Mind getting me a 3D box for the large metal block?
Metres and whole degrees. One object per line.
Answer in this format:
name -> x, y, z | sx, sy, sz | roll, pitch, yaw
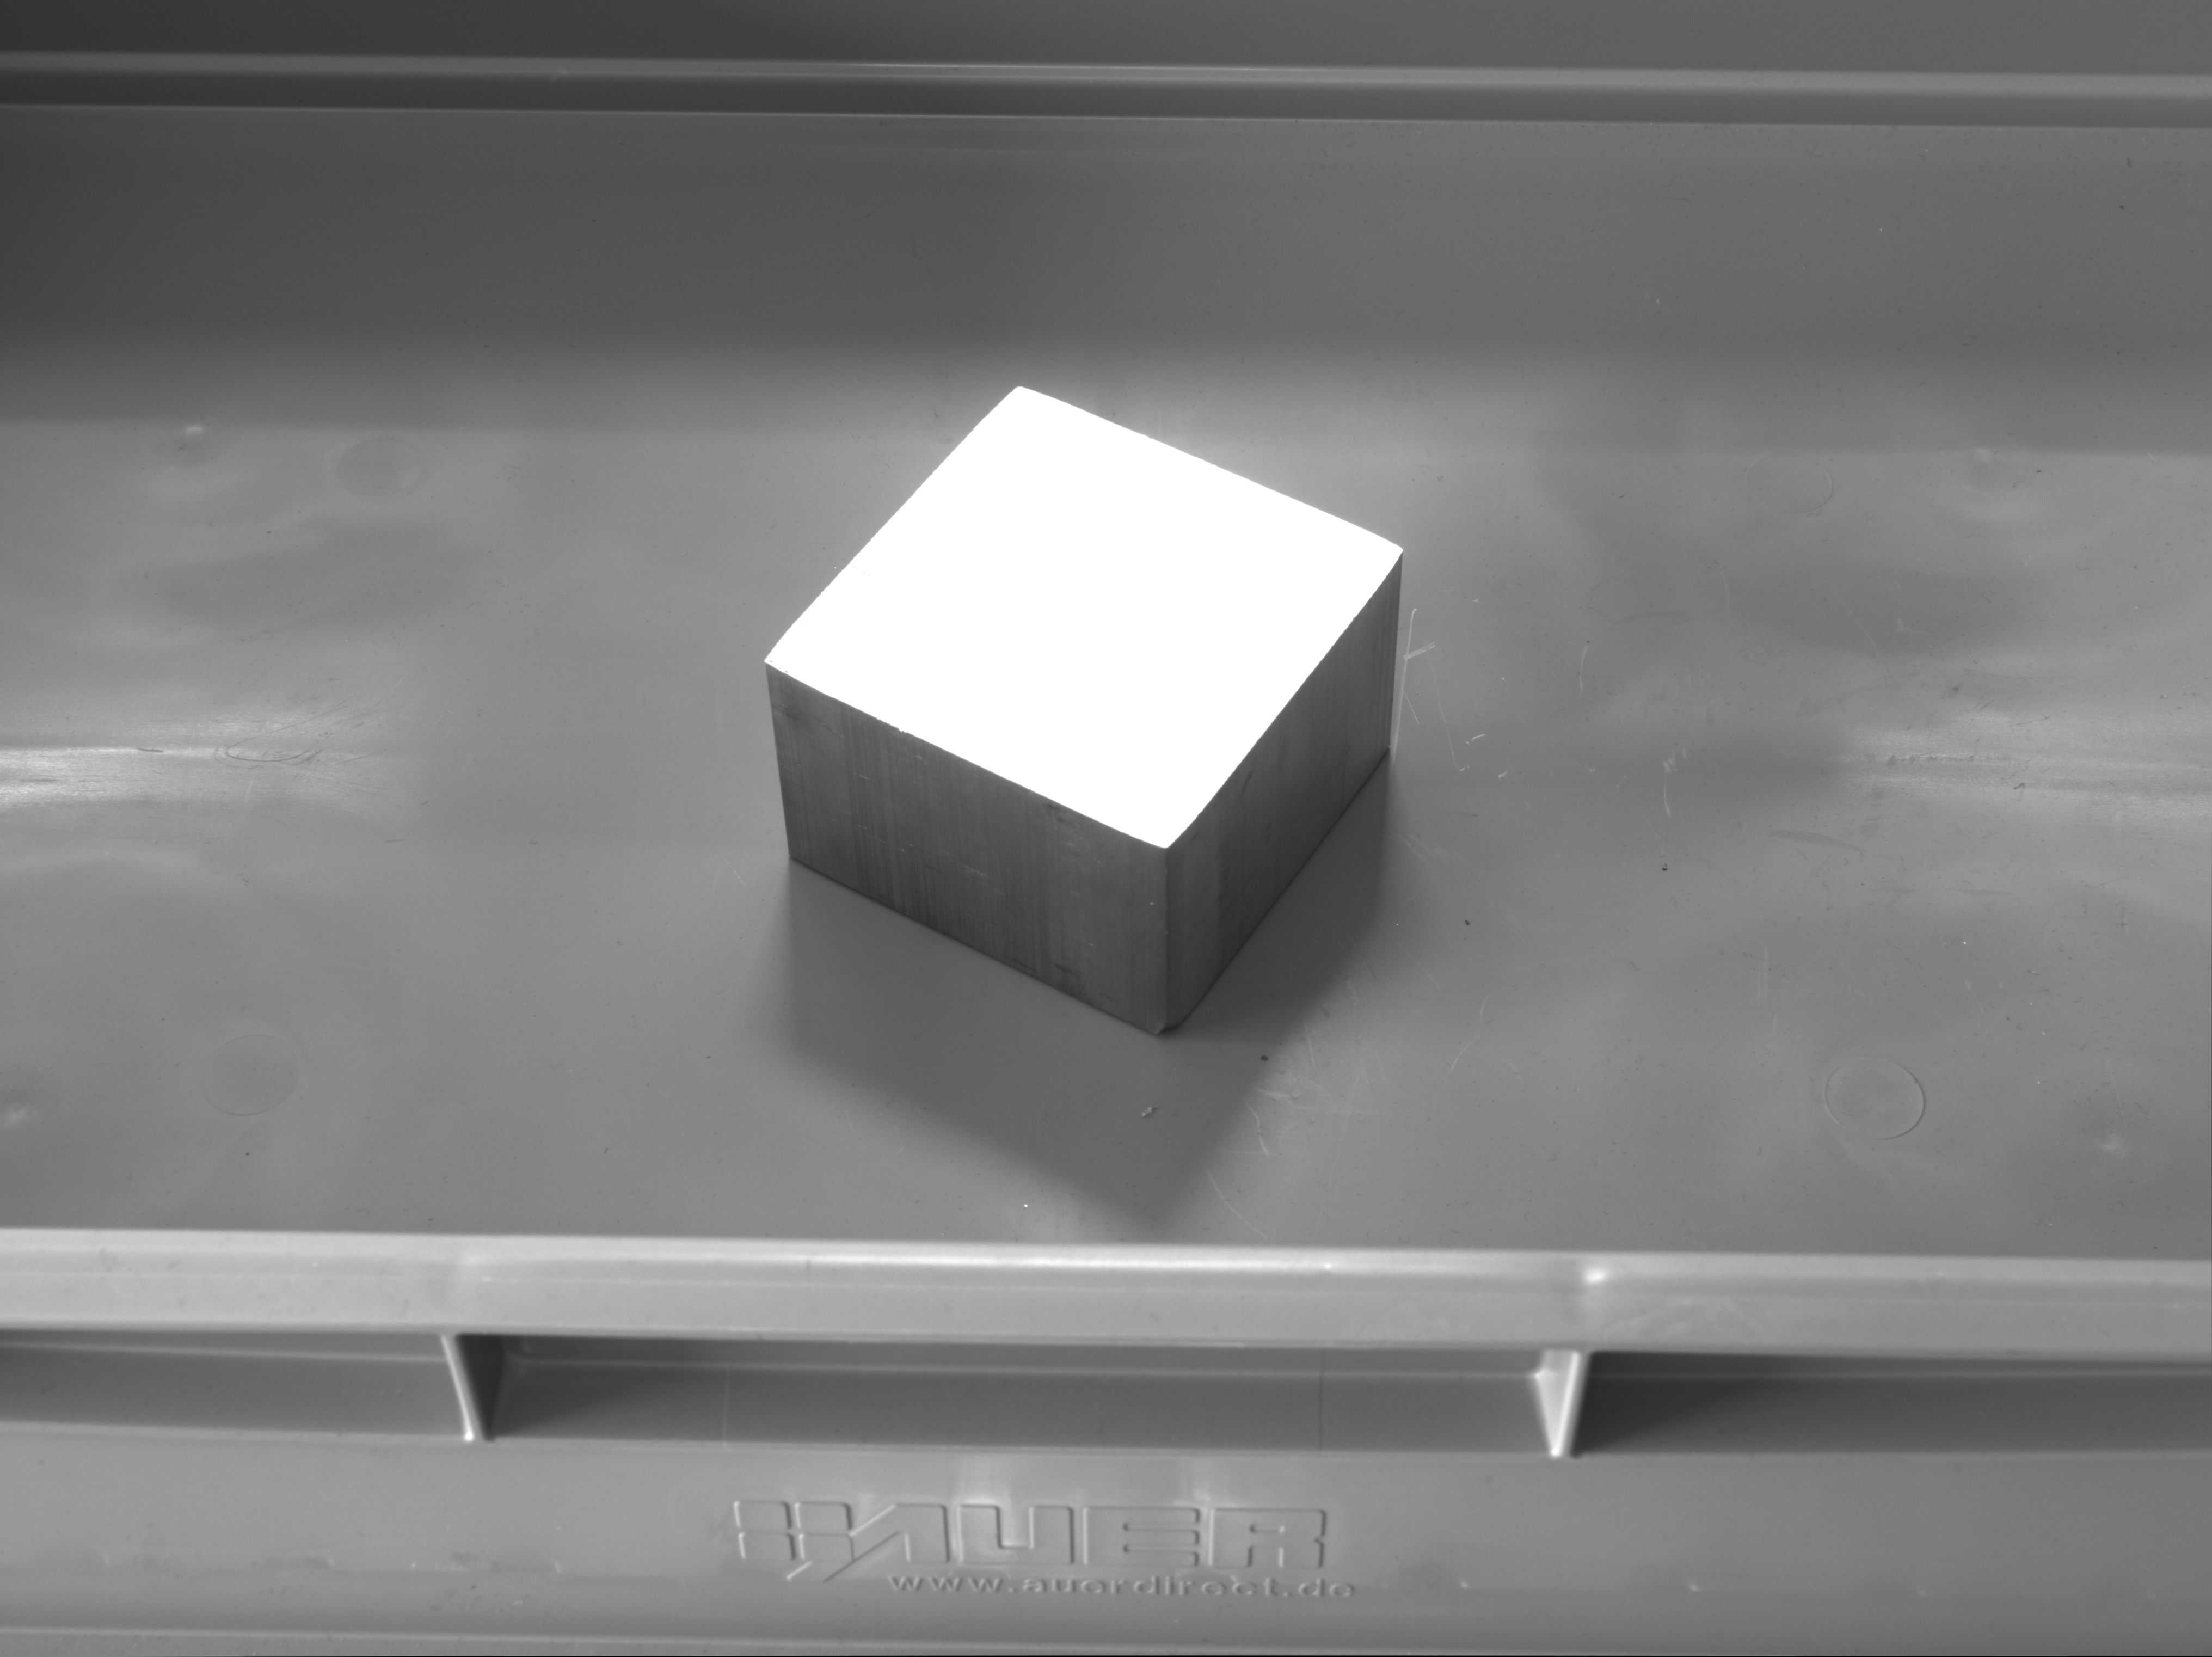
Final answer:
large metal block -> -0.003, -0.022, 0.641 | 0.080, 0.050, 0.080 | 25, 54, 20
